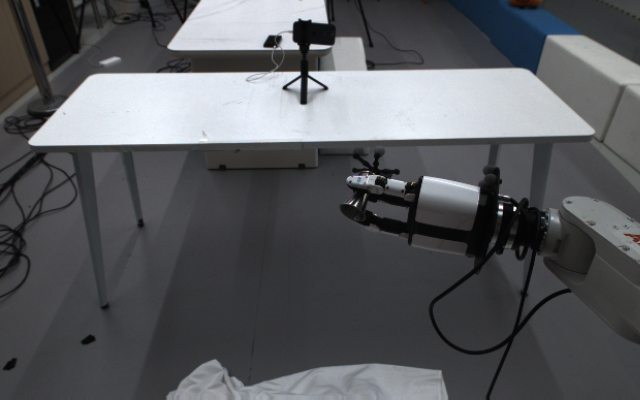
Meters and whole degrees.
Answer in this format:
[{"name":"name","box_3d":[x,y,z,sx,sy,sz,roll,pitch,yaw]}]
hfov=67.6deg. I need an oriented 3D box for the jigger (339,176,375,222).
[{"name":"jigger","box_3d":[0.062,-0.011,0.741,0.043,0.043,0.071,19,61,23]}]
